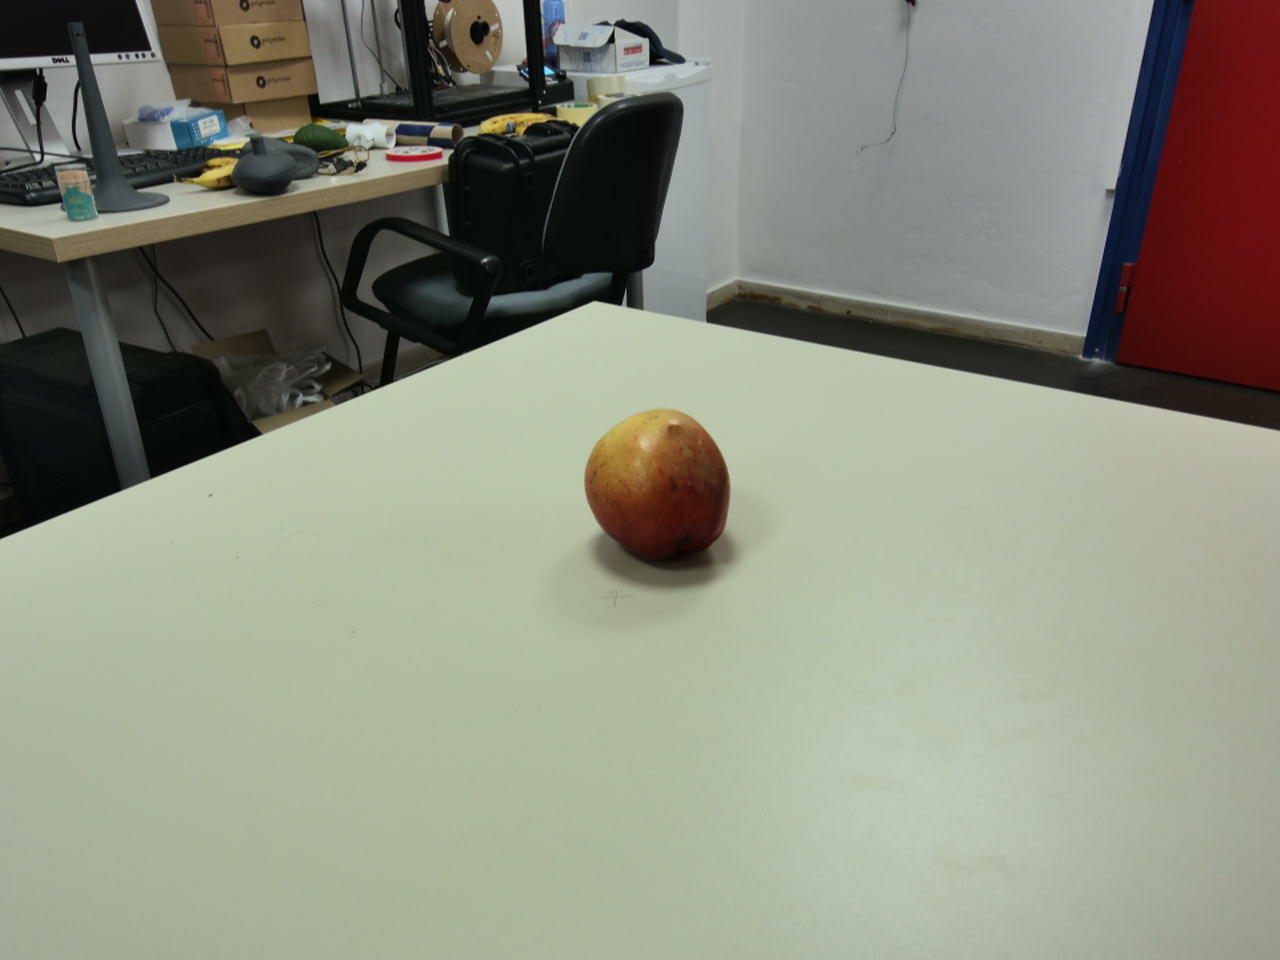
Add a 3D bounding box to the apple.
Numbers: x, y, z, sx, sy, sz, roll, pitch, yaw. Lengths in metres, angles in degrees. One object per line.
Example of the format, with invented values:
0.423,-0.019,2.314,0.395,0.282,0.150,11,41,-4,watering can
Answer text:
0.011,0.000,0.593,0.086,0.084,0.093,1,25,0,apple
